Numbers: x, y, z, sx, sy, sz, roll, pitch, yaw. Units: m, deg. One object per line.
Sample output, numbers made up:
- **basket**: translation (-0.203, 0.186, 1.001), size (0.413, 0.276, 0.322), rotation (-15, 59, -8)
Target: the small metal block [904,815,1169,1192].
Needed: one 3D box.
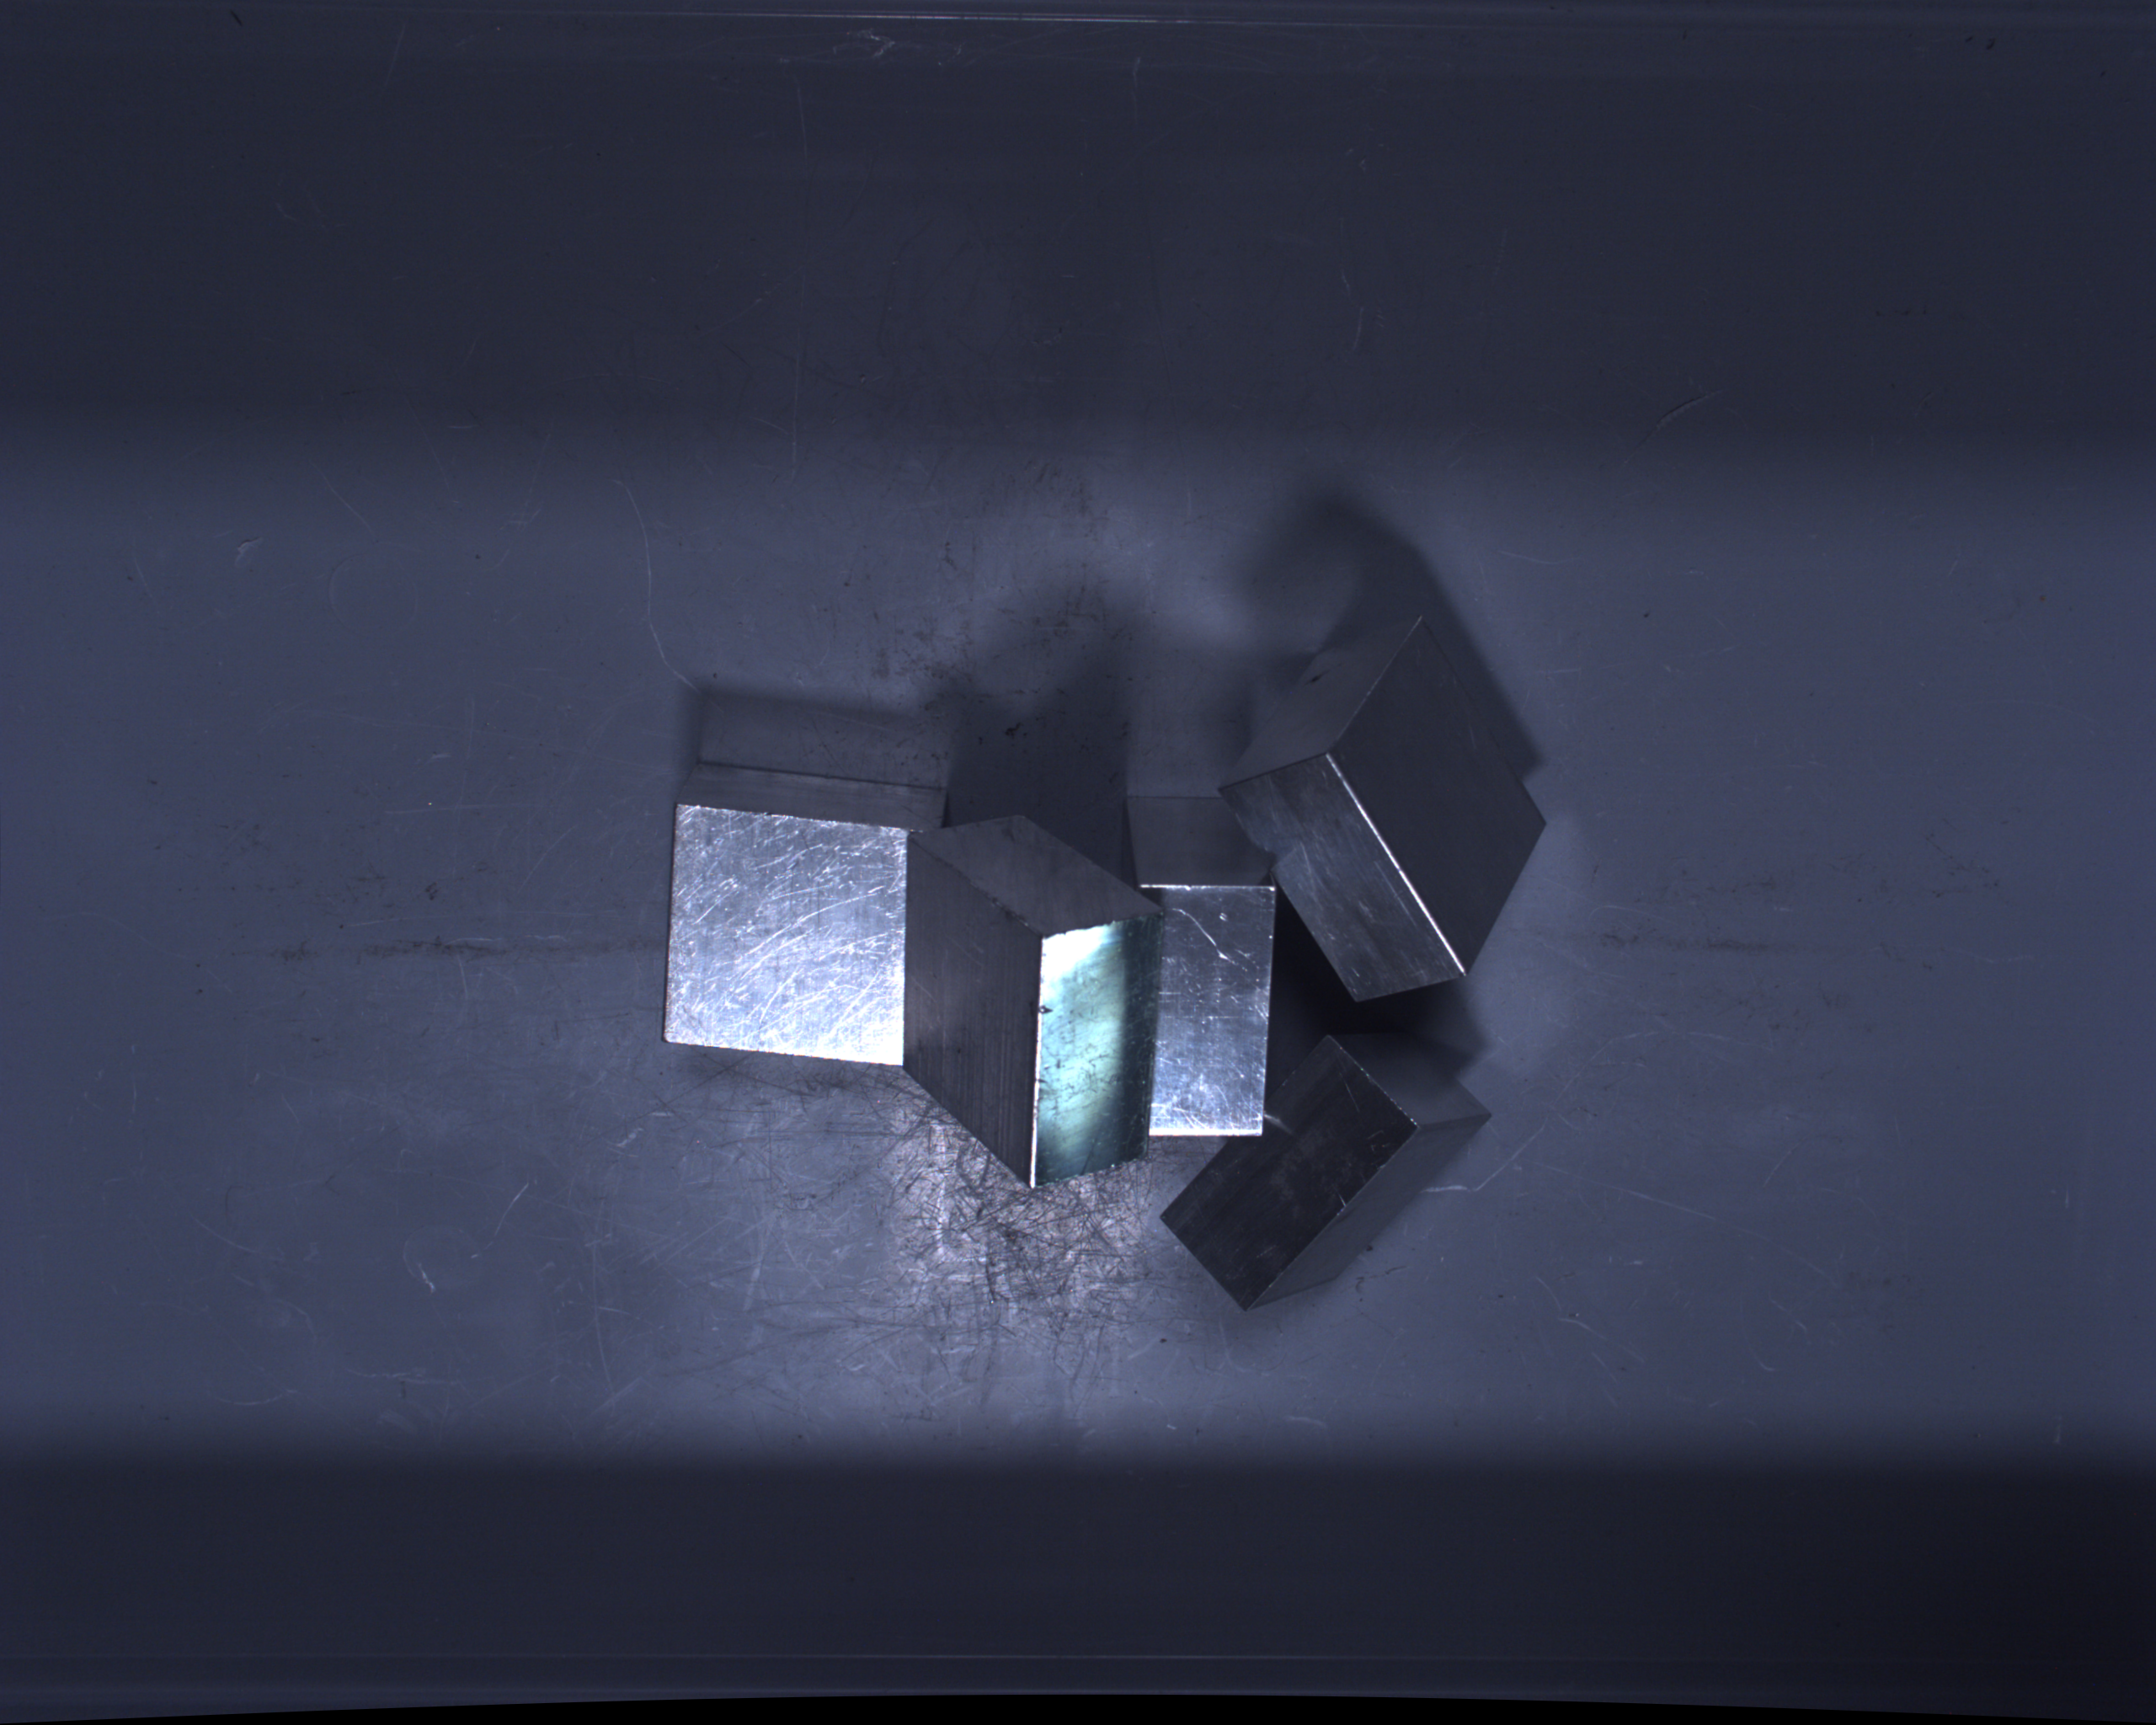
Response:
- **small metal block**: translation (-0.009, 0.025, 0.386), size (0.025, 0.050, 0.050), rotation (-11, 117, -30)

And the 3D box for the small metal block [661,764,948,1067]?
- **small metal block**: translation (-0.054, 0.010, 0.412), size (0.050, 0.025, 0.050), rotation (6, 110, -3)

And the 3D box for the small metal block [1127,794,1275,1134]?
- **small metal block**: translation (0.022, 0.018, 0.404), size (0.025, 0.050, 0.050), rotation (1, 110, -1)

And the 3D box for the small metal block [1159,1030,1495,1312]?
- **small metal block**: translation (0.051, 0.060, 0.416), size (0.025, 0.050, 0.050), rotation (46, 106, 21)

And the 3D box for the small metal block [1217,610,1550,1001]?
- **small metal block**: translation (0.059, -0.011, 0.390), size (0.025, 0.050, 0.050), rotation (-19, 113, 41)
